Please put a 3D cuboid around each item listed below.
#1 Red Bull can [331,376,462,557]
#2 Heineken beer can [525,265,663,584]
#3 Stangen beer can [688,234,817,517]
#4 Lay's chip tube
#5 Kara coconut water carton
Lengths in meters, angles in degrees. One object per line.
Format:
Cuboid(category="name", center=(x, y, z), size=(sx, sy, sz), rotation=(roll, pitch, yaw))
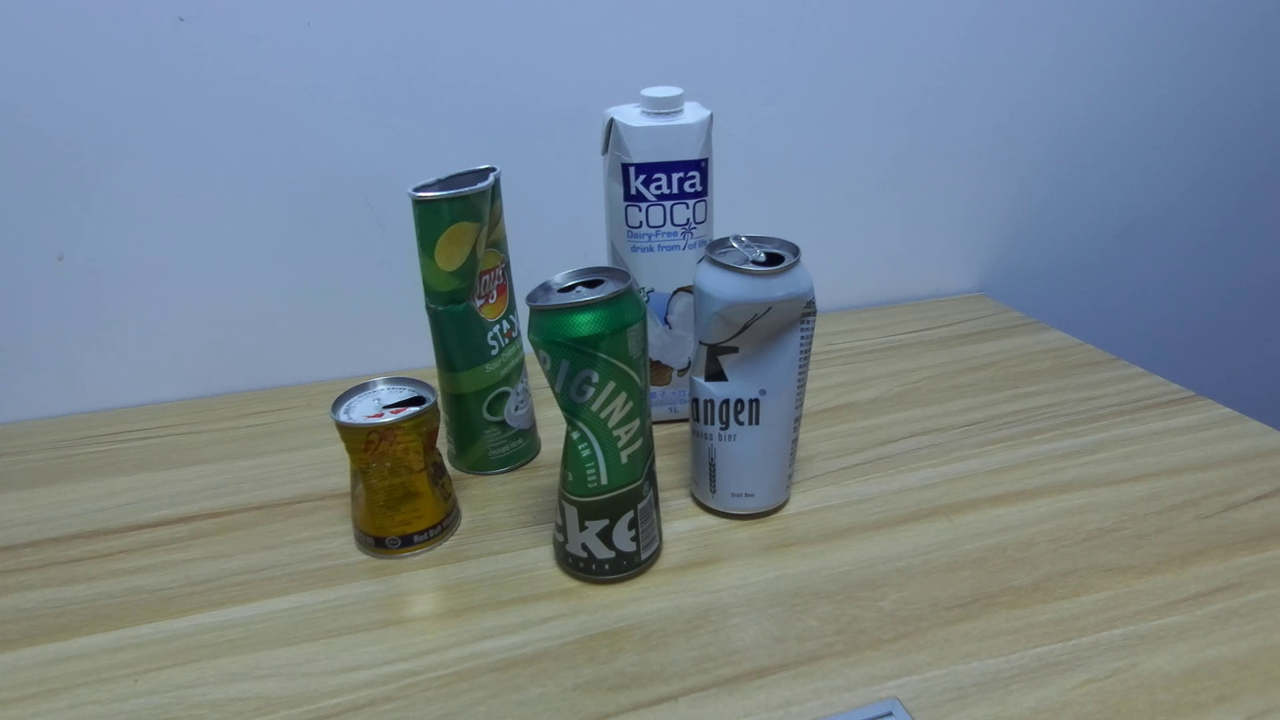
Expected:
Cuboid(category="Red Bull can", center=(-0.148, 0.064, 0.431), size=(0.072, 0.092, 0.072), rotation=(-1, 24, 1))
Cuboid(category="Heineken beer can", center=(-0.024, 0.038, 0.390), size=(0.068, 0.168, 0.069), rotation=(-23, 29, -36))
Cuboid(category="Stangen beer can", center=(0.065, 0.012, 0.429), size=(0.070, 0.173, 0.070), rotation=(19, 32, 36))
Cuboid(category="Lay's chip tube", center=(-0.113, -0.023, 0.492), size=(0.069, 0.199, 0.074), rotation=(-12, 26, -20))
Cuboid(category="Kara coconut water carton", center=(0.015, -0.074, 0.531), size=(0.077, 0.245, 0.075), rotation=(-4, 23, -4))
